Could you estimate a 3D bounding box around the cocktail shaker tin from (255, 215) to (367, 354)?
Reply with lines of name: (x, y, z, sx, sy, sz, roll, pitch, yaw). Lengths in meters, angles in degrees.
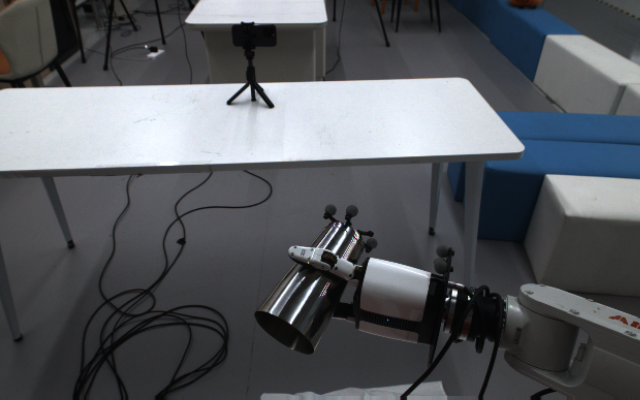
cocktail shaker tin: (-0.003, 0.108, 0.663, 0.093, 0.093, 0.170, 19, 54, 23)
